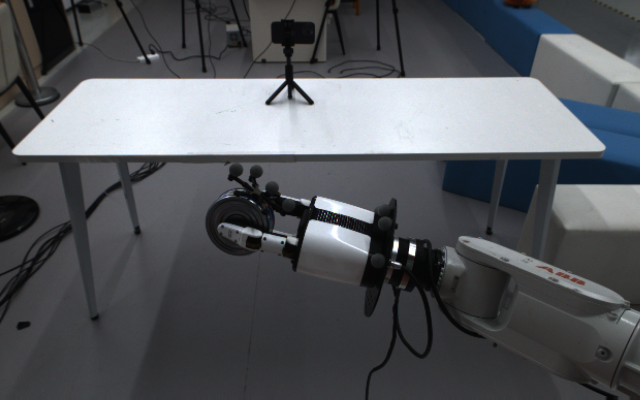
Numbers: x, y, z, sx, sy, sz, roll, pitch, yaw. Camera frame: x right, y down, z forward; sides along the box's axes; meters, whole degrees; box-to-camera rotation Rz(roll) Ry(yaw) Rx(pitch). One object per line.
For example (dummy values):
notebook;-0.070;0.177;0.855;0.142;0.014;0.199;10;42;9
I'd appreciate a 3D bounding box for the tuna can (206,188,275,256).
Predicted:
tuna can;-0.101;0.036;0.630;0.085;0.085;0.034;6;19;6
